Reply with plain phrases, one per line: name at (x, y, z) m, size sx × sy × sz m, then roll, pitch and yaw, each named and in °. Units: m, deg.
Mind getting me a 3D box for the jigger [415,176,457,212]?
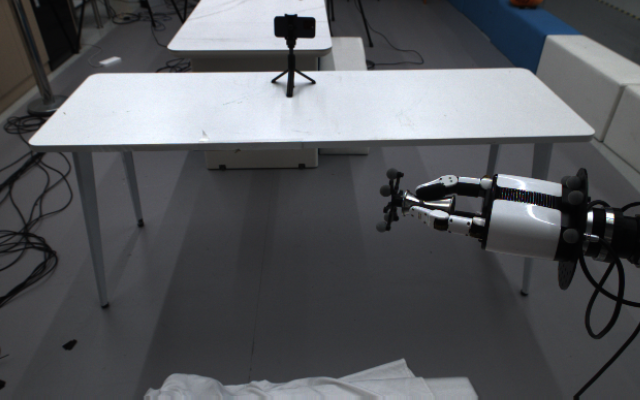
jigger at (0.161, 0.006, 0.691) m, size 0.071 × 0.043 × 0.043 m, roll 10°, pitch 35°, yaw 22°
